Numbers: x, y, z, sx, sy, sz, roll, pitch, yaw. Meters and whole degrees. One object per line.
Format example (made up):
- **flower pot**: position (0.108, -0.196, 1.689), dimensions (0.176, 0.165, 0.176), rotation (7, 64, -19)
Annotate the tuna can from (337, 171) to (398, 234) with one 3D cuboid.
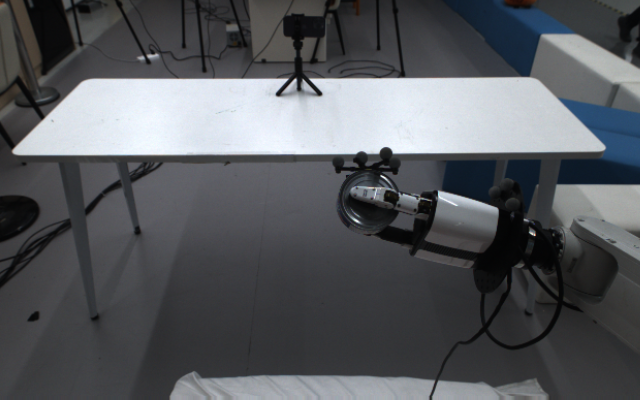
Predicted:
- **tuna can**: position (0.067, 0.001, 0.661), dimensions (0.085, 0.034, 0.085), rotation (1, 70, -4)
